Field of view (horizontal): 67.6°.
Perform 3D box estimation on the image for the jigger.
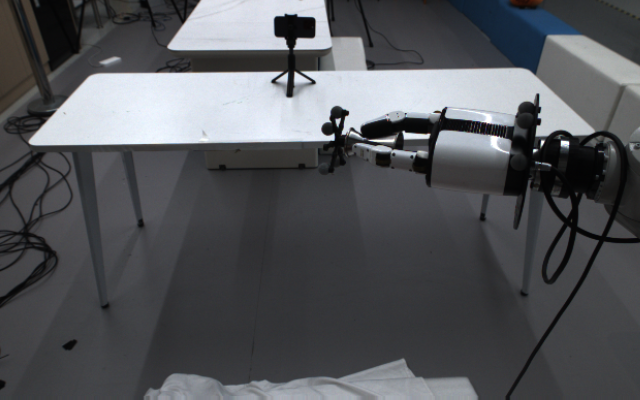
[{"bbox_3d":[0.076,-0.074,0.633,0.071,0.043,0.043,10,35,22],"label":"jigger"}]
